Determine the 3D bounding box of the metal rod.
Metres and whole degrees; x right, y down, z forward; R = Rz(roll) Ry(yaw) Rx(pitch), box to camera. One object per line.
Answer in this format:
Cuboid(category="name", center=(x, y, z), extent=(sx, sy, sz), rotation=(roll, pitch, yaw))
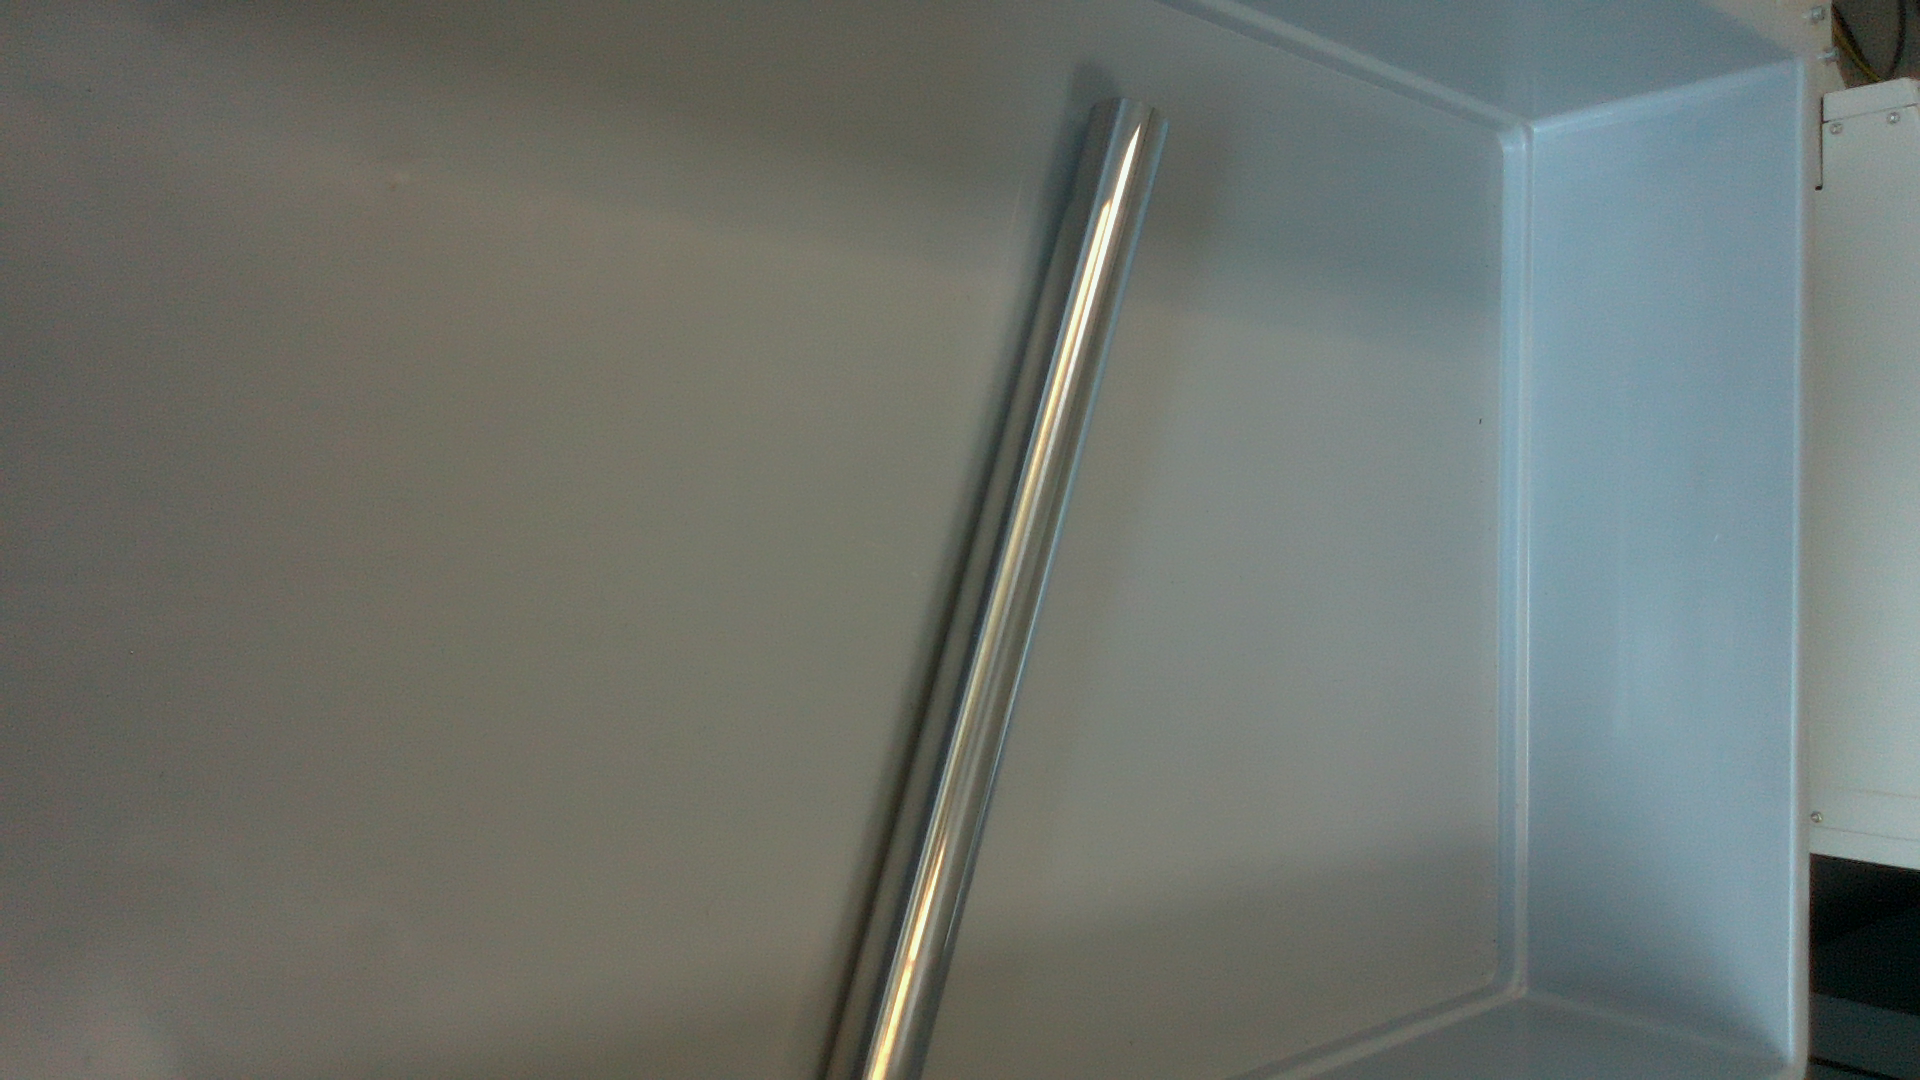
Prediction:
Cuboid(category="metal rod", center=(0.013, 0.011, 0.396), extent=(0.025, 0.025, 0.300), rotation=(25, 74, -37))
